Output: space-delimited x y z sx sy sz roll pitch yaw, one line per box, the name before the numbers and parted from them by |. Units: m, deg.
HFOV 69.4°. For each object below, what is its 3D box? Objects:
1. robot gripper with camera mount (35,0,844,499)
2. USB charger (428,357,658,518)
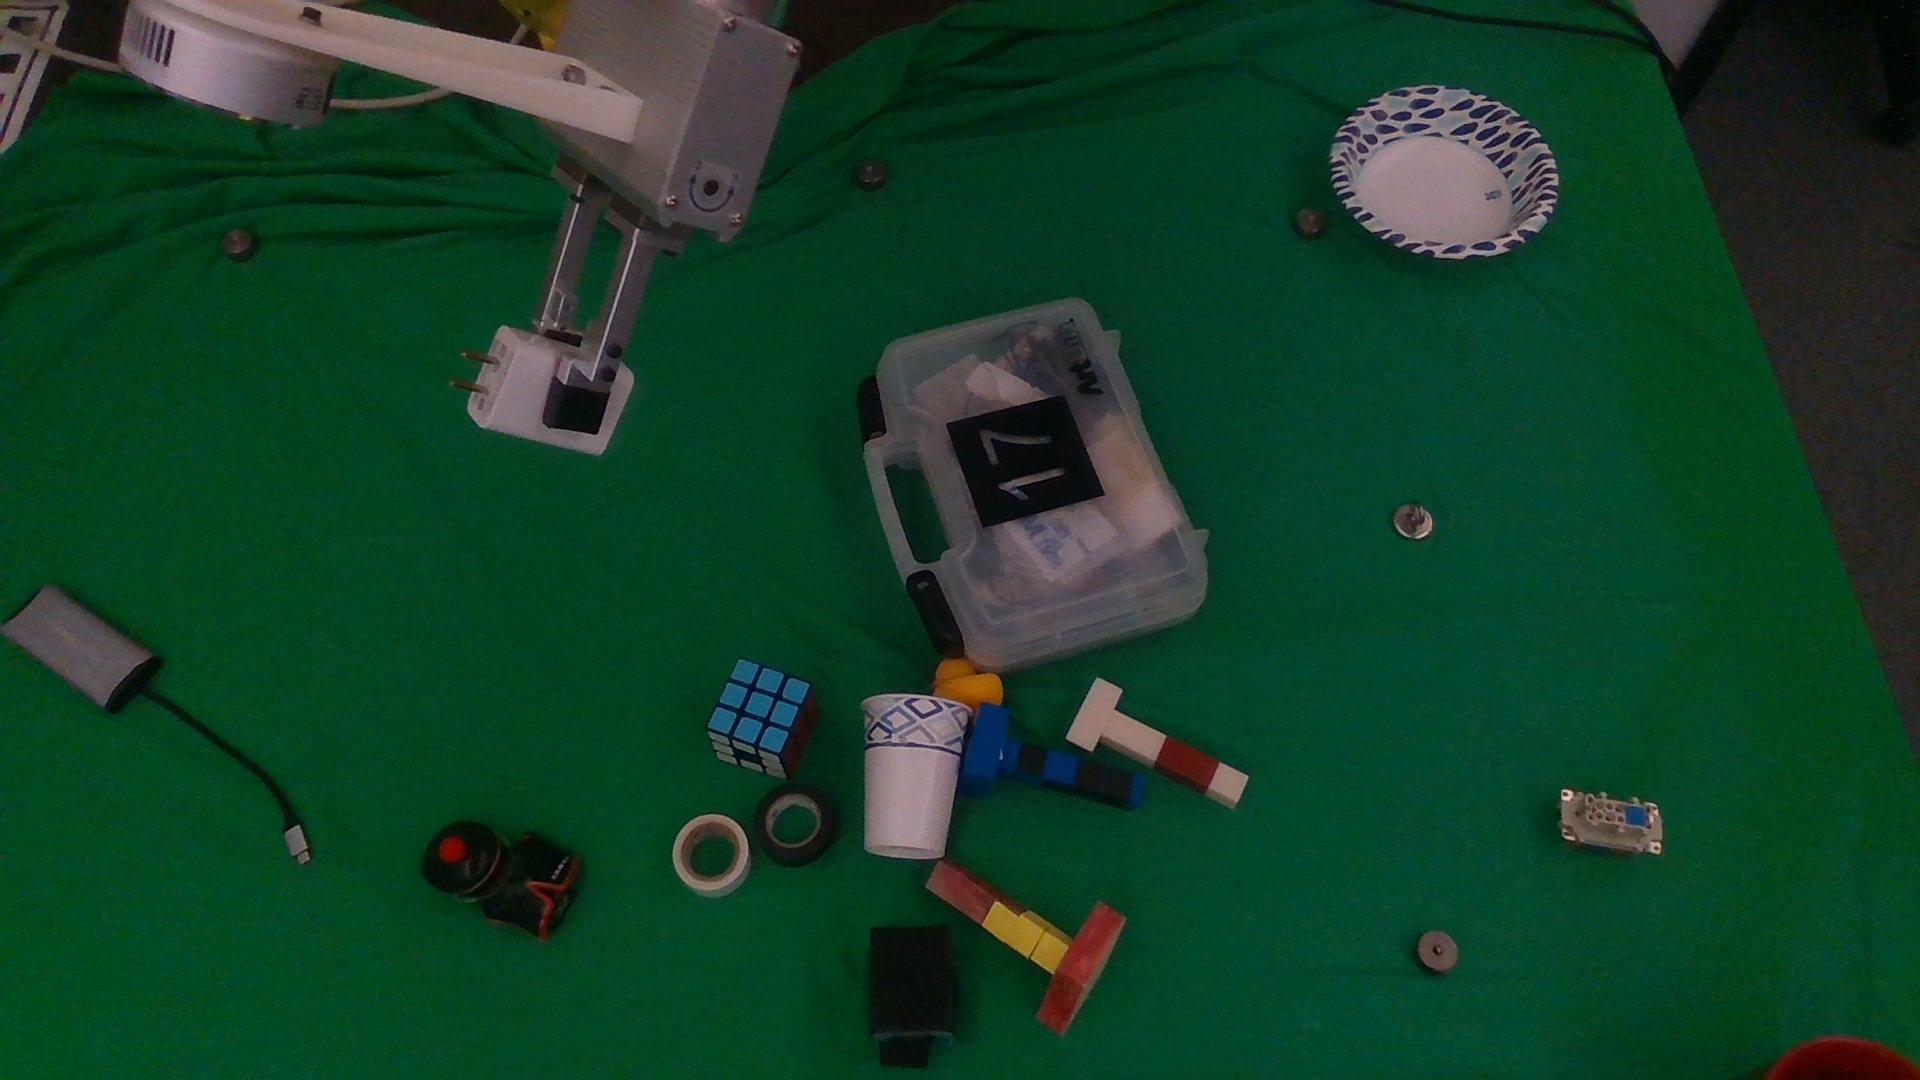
robot gripper with camera mount | -0.166 -0.100 0.416 0.192 0.158 0.119 7 21 -39
USB charger | -0.143 -0.036 0.472 0.029 0.075 0.044 27 96 40
